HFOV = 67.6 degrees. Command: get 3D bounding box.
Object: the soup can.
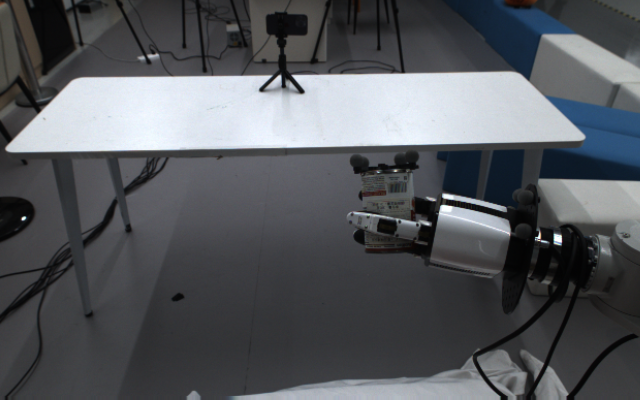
[{"bbox_3d":[0.089,0.015,0.614,0.067,0.101,0.067,-3,-1,0],"label":"soup can"}]
